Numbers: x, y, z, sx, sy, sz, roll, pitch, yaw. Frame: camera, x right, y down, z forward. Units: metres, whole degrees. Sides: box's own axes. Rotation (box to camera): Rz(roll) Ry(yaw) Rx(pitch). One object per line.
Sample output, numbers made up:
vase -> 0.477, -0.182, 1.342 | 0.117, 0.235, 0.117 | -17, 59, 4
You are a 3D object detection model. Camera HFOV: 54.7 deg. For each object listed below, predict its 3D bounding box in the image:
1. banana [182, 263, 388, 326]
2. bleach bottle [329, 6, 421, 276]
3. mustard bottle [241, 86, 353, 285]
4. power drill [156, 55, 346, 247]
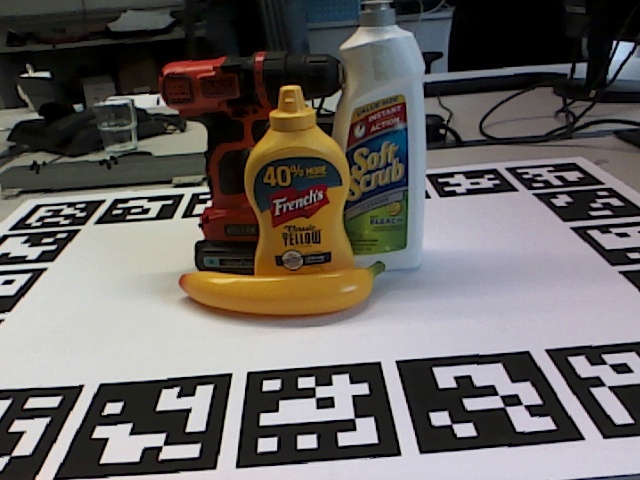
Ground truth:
banana -> -0.035, 0.050, 0.568 | 0.197, 0.039, 0.074 | -4, 26, 6
bleach bottle -> 0.046, -0.092, 0.600 | 0.103, 0.250, 0.068 | -3, 19, 3
mustard bottle -> -0.021, -0.041, 0.558 | 0.096, 0.191, 0.058 | -3, 25, 0
power drill -> -0.064, -0.087, 0.615 | 0.185, 0.186, 0.057 | 3, 25, 11
